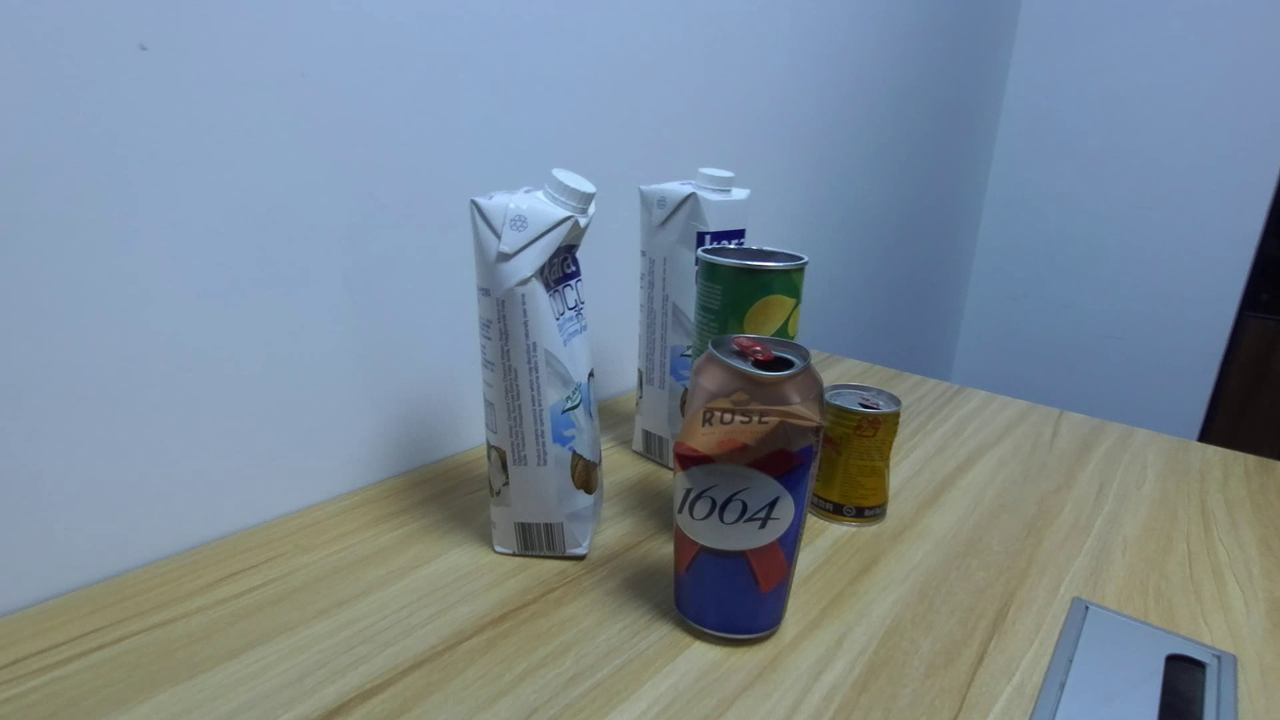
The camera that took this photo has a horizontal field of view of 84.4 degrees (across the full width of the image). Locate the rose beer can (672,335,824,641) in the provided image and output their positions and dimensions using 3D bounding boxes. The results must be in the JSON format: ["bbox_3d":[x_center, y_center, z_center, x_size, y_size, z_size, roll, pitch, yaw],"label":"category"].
[{"bbox_3d":[0.056,0.073,0.390,0.075,0.167,0.065,10,21,14],"label":"rose beer can"}]

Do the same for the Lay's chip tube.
[{"bbox_3d":[0.067,0.028,0.470,0.071,0.202,0.071,2,16,0],"label":"Lay's chip tube"}]

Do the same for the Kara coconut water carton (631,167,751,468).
[{"bbox_3d":[0.040,-0.031,0.588,0.077,0.245,0.075,-9,16,-43],"label":"Kara coconut water carton"}]

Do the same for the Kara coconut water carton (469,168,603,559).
[{"bbox_3d":[-0.062,0.003,0.461,0.071,0.244,0.099,2,19,5],"label":"Kara coconut water carton"}]
